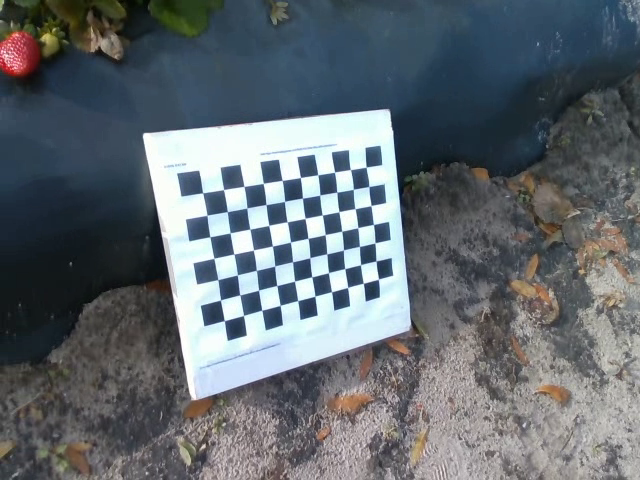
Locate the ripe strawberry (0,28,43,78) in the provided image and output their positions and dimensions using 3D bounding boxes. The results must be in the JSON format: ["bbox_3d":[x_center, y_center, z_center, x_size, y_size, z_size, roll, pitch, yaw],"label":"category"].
[{"bbox_3d":[-0.281,-0.167,0.572,0.045,0.058,0.051,-9,-40,-29],"label":"ripe strawberry"}]
